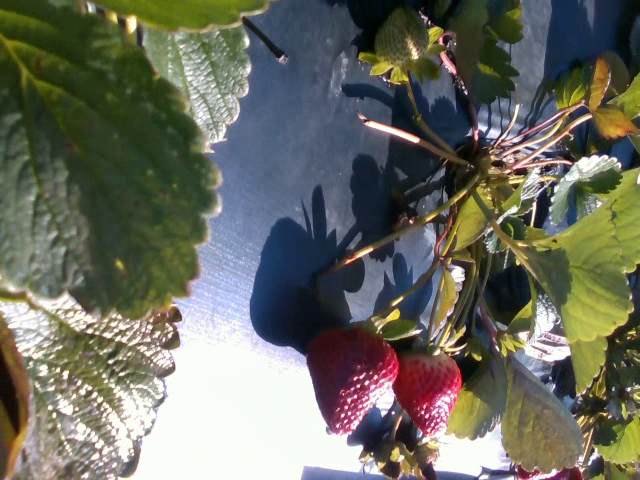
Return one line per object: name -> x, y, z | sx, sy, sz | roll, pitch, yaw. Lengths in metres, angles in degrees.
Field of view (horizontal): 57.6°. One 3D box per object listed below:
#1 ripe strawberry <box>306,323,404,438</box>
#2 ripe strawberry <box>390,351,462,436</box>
ripe strawberry -> 0.012, 0.064, 0.250 | 0.044, 0.050, 0.051 | 1, -25, 22
ripe strawberry -> 0.057, 0.083, 0.305 | 0.042, 0.049, 0.039 | -3, -6, -13
